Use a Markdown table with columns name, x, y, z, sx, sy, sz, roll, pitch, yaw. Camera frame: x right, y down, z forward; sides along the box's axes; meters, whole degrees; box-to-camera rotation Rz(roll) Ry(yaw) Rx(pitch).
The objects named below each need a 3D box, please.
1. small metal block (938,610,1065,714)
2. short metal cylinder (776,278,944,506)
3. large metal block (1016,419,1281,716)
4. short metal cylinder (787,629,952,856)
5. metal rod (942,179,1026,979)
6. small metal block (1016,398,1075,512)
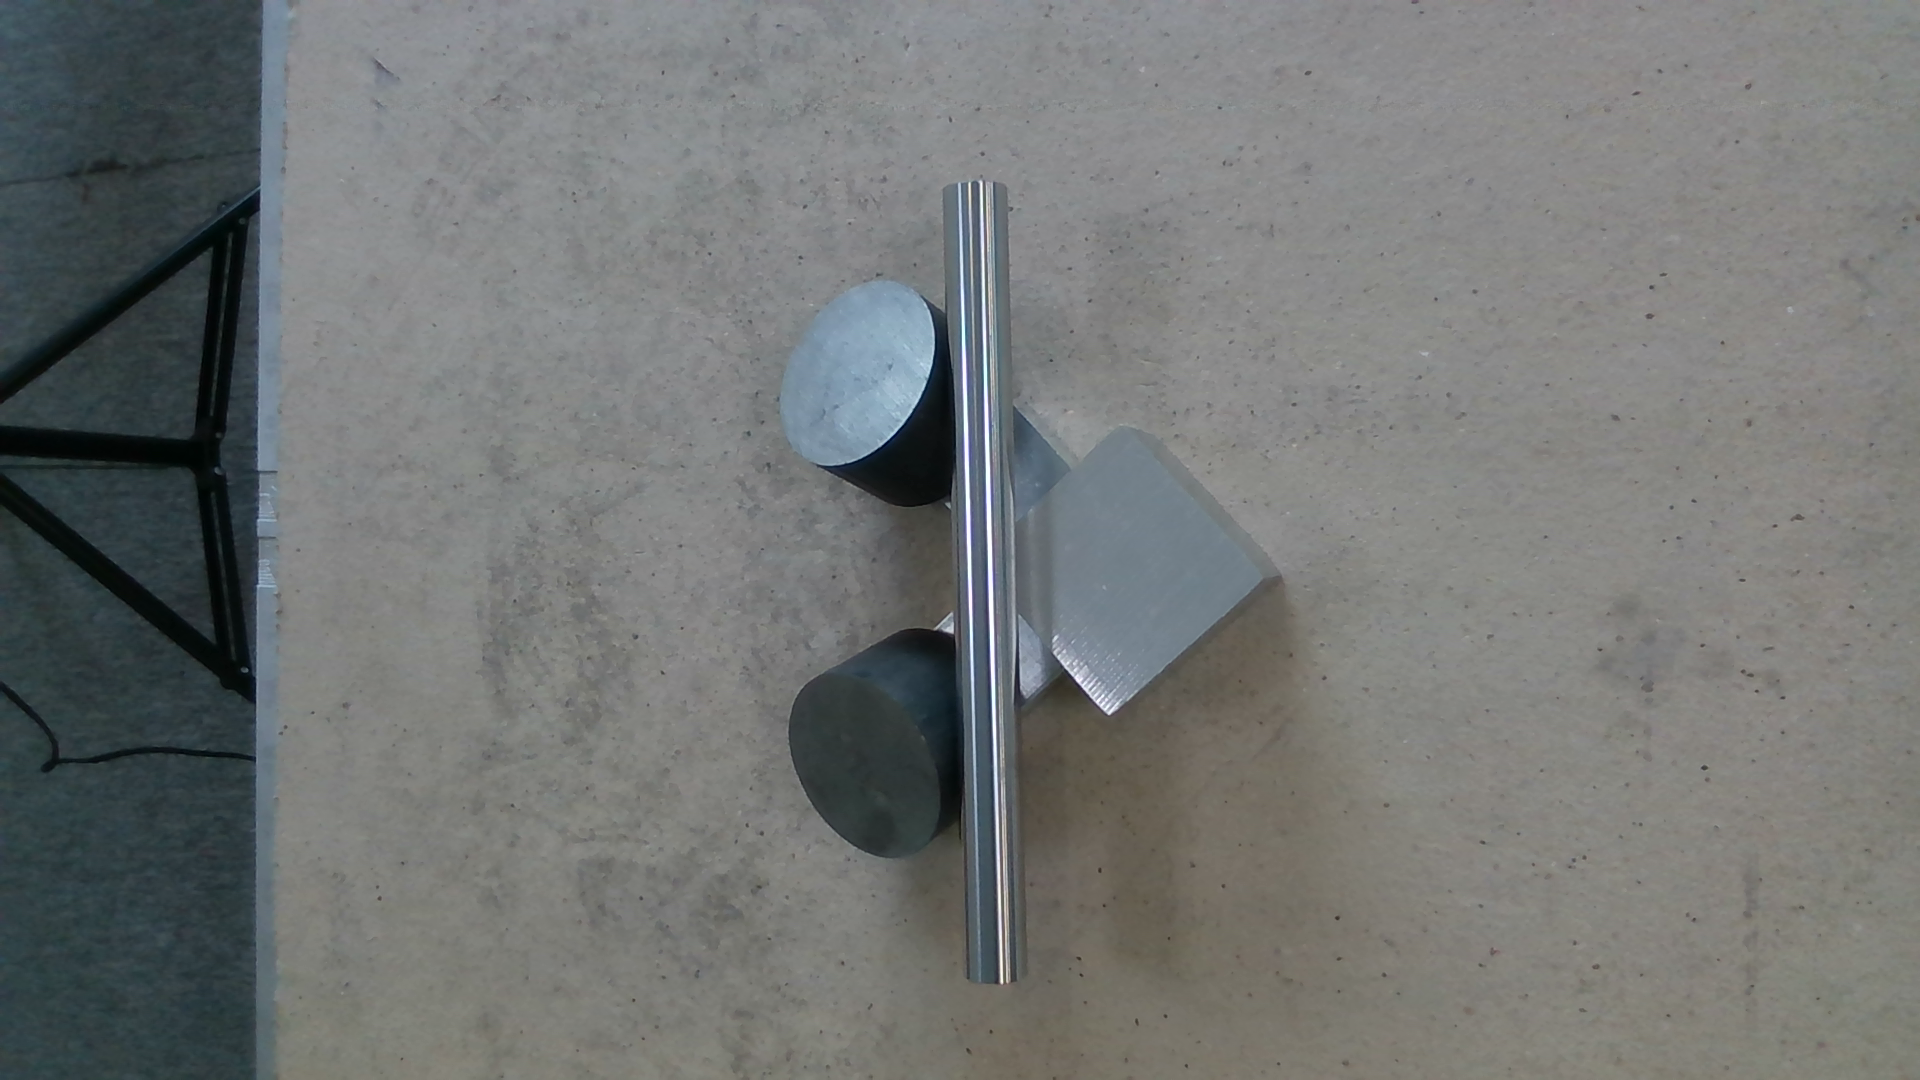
| name | x | y | z | sx | sy | sz | roll | pitch | yaw |
| --- | --- | --- | --- | --- | --- | --- | --- | --- | --- |
| small metal block | 0.019 | 0.046 | 0.579 | 0.050 | 0.025 | 0.050 | -45 | 76 | 15 |
| short metal cylinder | -0.029 | -0.060 | 0.567 | 0.080 | 0.050 | 0.080 | -15 | 64 | 33 |
| large metal block | 0.068 | 0.011 | 0.546 | 0.080 | 0.050 | 0.080 | -44 | 76 | 15 |
| short metal cylinder | -0.025 | 0.082 | 0.568 | 0.080 | 0.050 | 0.080 | 16 | 117 | 34 |
| metal rod | 0.009 | 0.015 | 0.528 | 0.025 | 0.025 | 0.300 | -1 | 90 | 20 |
| small metal block | 0.020 | -0.026 | 0.579 | 0.050 | 0.025 | 0.050 | -45 | 77 | 15 |
